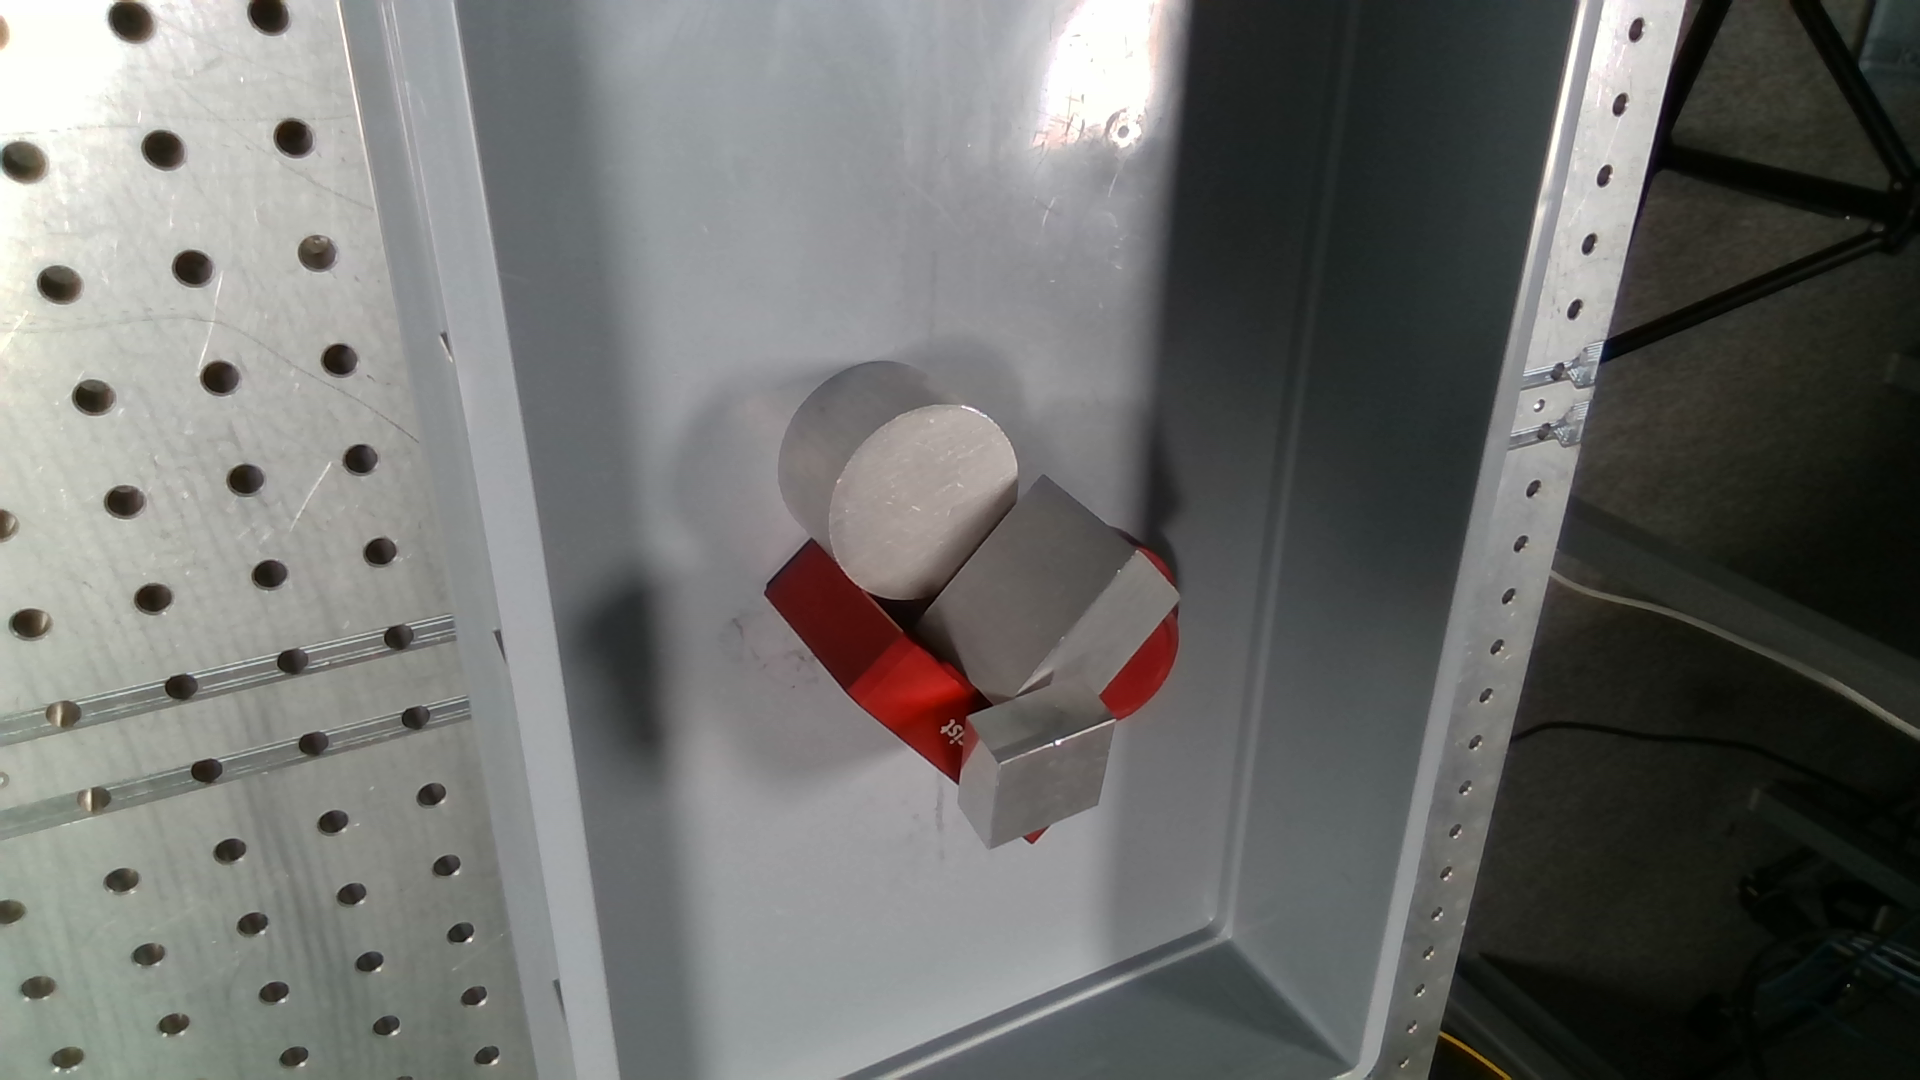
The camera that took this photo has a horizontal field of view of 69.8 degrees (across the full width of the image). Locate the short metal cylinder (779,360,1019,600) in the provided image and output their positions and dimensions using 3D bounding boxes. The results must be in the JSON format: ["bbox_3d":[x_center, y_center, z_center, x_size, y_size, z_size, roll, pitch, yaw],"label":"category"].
[{"bbox_3d":[-0.024,-0.024,0.535,0.080,0.050,0.080,-14,122,-25],"label":"short metal cylinder"}]

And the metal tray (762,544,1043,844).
[{"bbox_3d":[-0.015,0.063,0.561,0.030,0.090,0.130,-47,130,-3],"label":"metal tray"}]

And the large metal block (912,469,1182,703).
[{"bbox_3d":[0.037,0.029,0.555,0.080,0.050,0.080,-51,154,1],"label":"large metal block"}]

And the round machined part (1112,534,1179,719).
[{"bbox_3d":[0.060,0.045,0.629,0.098,0.042,0.098,-14,122,-25],"label":"round machined part"}]

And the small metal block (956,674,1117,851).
[{"bbox_3d":[0.028,0.084,0.519,0.050,0.025,0.050,-17,136,-24],"label":"small metal block"}]
